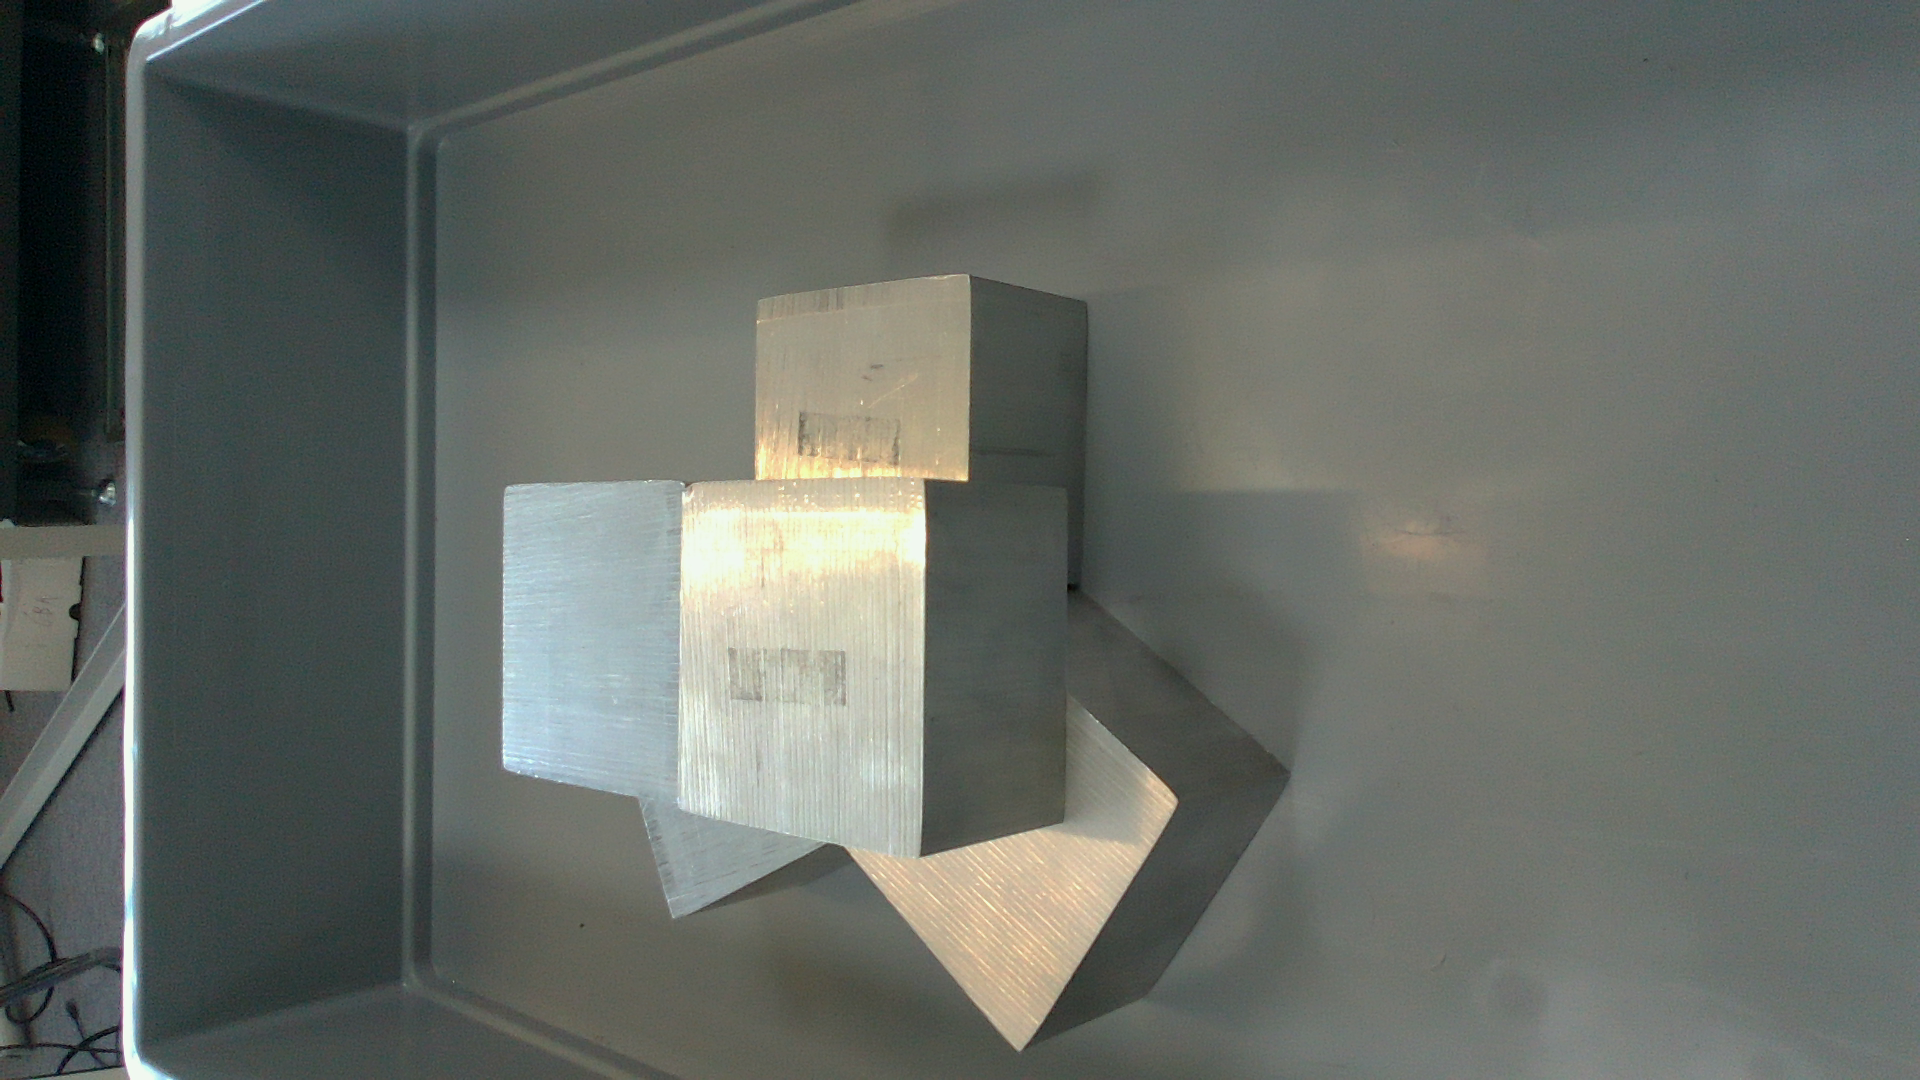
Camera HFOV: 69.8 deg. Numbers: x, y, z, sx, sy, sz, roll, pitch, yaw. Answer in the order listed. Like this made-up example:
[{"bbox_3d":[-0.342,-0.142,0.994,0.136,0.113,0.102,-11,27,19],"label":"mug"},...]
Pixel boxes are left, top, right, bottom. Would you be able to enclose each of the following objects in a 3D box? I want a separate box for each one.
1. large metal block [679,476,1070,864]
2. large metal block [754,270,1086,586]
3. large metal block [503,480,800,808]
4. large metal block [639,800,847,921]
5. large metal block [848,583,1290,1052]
[{"bbox_3d":[-0.021,0.026,0.327,0.080,0.050,0.080,1,91,40],"label":"large metal block"},{"bbox_3d":[-0.012,-0.028,0.387,0.080,0.050,0.080,2,91,40],"label":"large metal block"},{"bbox_3d":[-0.082,0.025,0.380,0.080,0.050,0.080,1,91,40],"label":"large metal block"},{"bbox_3d":[-0.057,0.062,0.425,0.080,0.050,0.080,-33,70,35],"label":"large metal block"},{"bbox_3d":[0.023,0.067,0.356,0.080,0.050,0.080,42,115,33],"label":"large metal block"}]
